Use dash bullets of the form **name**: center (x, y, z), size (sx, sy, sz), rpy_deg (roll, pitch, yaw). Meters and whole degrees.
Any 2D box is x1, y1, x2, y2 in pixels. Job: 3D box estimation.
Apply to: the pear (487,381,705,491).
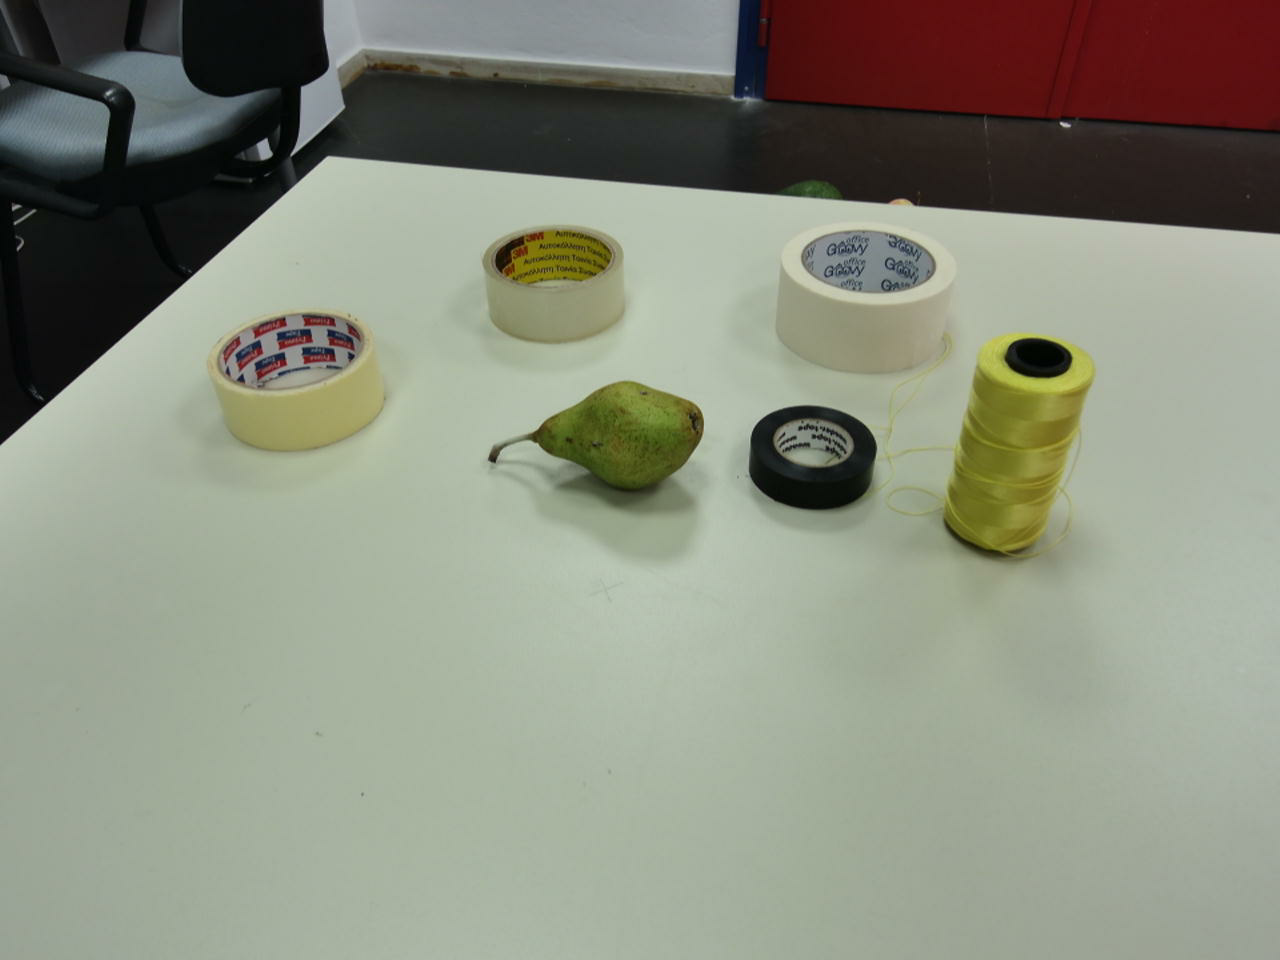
- **pear**: center (-0.021, -0.028, 0.523), size (0.111, 0.056, 0.056), rpy_deg (18, 42, 22)
